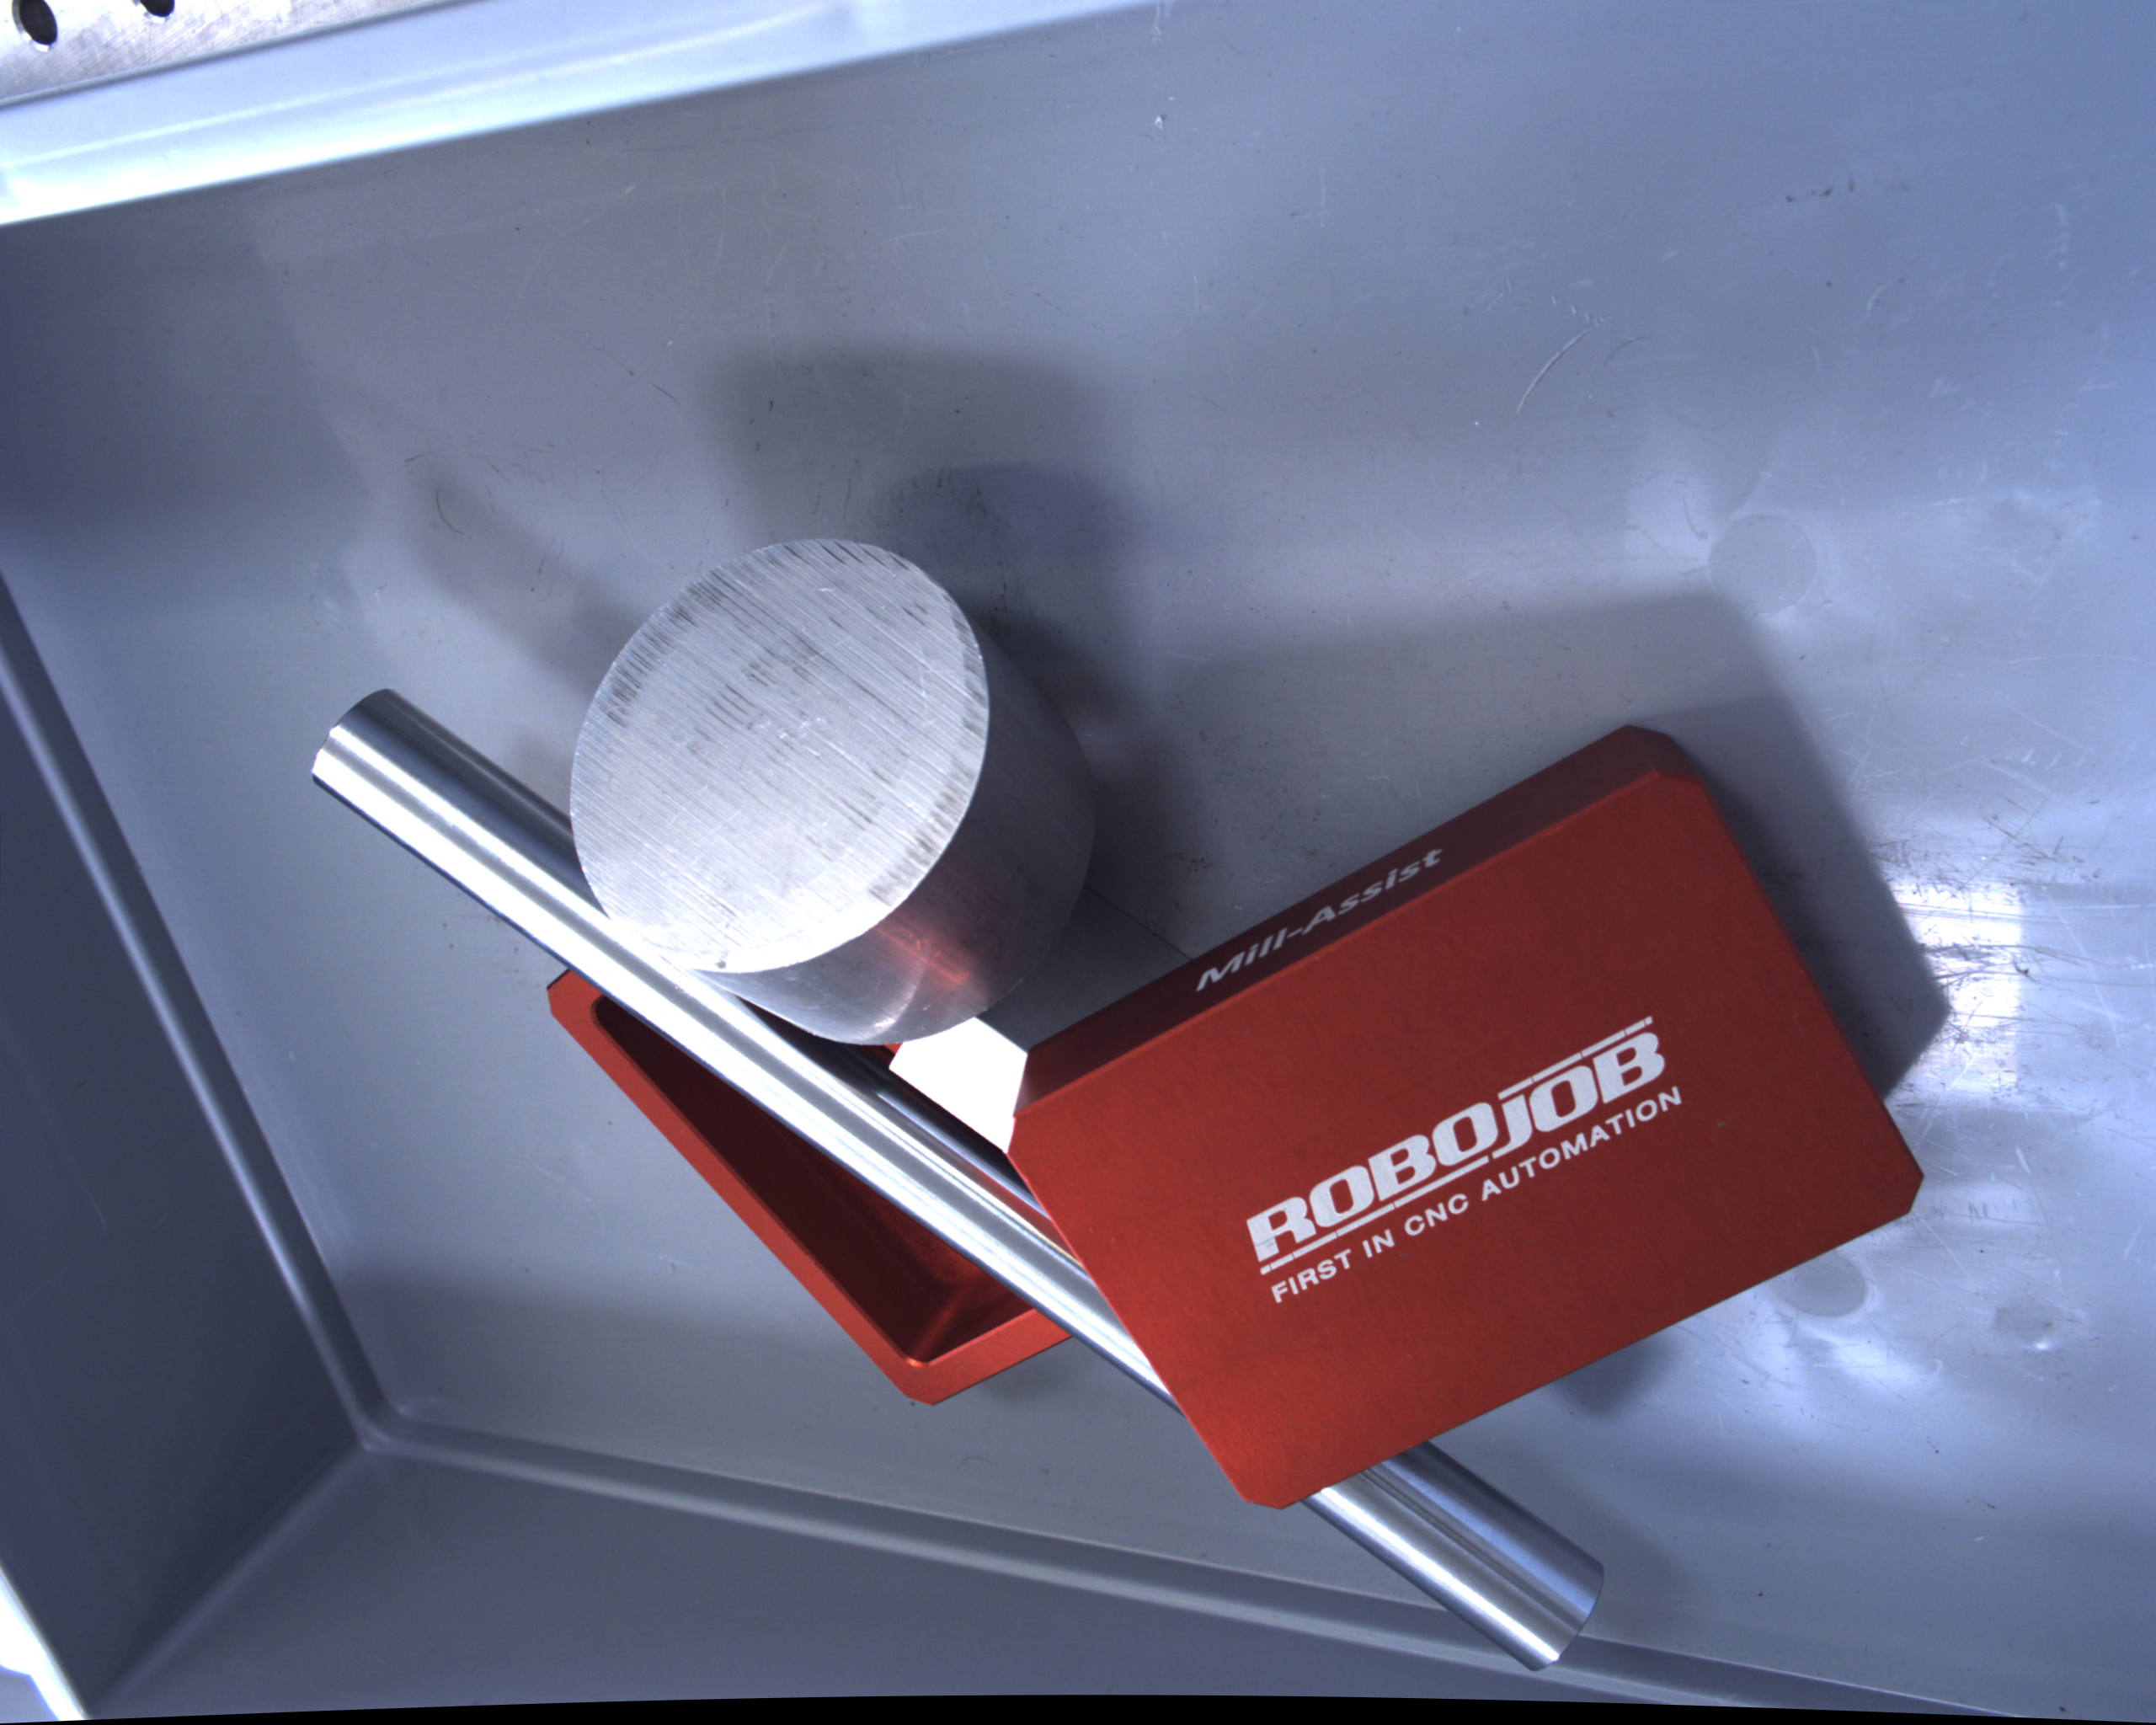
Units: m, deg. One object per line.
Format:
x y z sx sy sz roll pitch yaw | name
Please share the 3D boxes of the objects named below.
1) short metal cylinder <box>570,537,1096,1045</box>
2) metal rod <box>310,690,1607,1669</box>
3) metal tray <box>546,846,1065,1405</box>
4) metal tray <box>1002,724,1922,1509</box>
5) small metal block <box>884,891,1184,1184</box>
-0.043 -0.012 0.378 0.080 0.080 0.050 8 164 24 | short metal cylinder
-0.027 0.061 0.419 0.301 0.025 0.025 35 129 4 | metal rod
-0.044 0.052 0.458 0.130 0.030 0.090 49 129 -7 | metal tray
0.065 0.046 0.365 0.130 0.030 0.090 -30 103 12 | metal tray
-0.001 0.035 0.411 0.050 0.050 0.025 35 129 5 | small metal block
